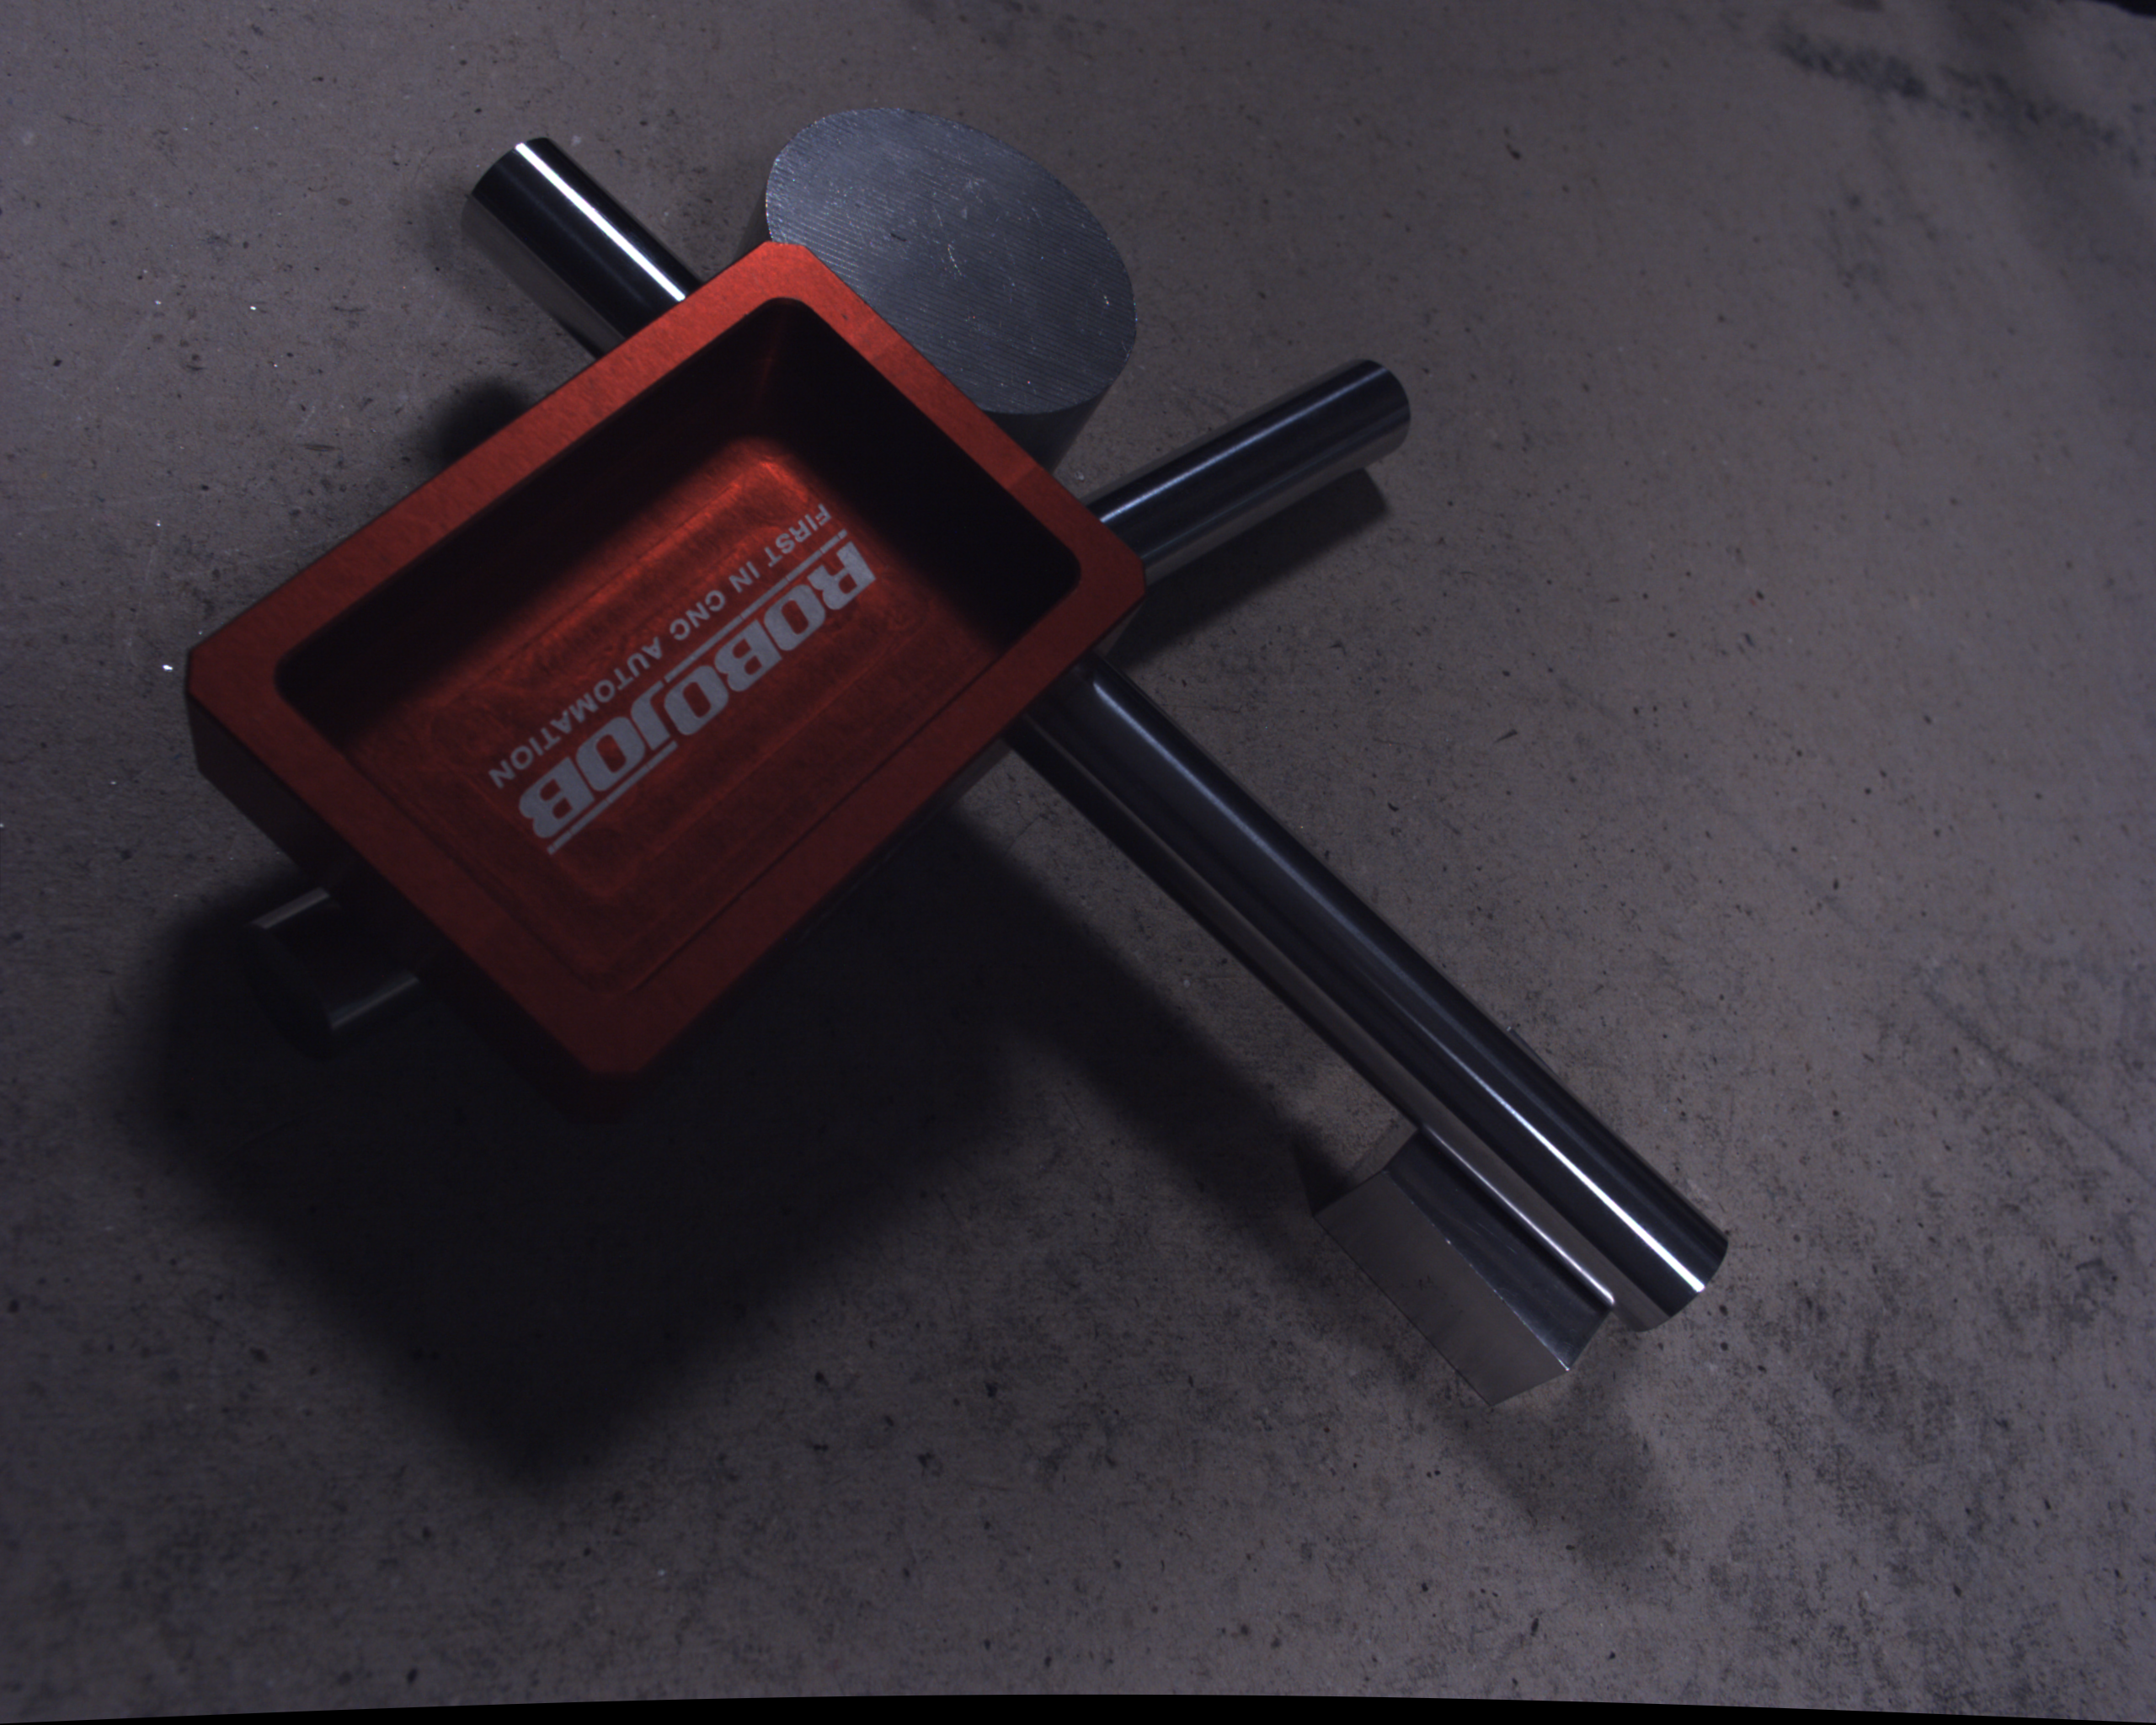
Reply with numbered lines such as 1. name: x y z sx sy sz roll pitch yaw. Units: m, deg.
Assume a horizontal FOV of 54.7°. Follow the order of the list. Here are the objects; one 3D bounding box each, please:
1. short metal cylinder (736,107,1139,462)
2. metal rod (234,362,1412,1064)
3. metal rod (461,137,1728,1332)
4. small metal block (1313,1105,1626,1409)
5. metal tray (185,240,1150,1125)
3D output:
1. short metal cylinder: -0.034 -0.110 0.439 0.081 0.050 0.080 14 56 -21
2. metal rod: -0.026 -0.045 0.420 0.302 0.025 0.025 -34 81 -38
3. metal rod: 0.002 -0.025 0.391 0.300 0.025 0.025 43 51 1
4. small metal block: 0.083 0.069 0.410 0.050 0.025 0.050 47 51 5
5. metal tray: -0.062 -0.033 0.340 0.090 0.030 0.131 43 62 2
